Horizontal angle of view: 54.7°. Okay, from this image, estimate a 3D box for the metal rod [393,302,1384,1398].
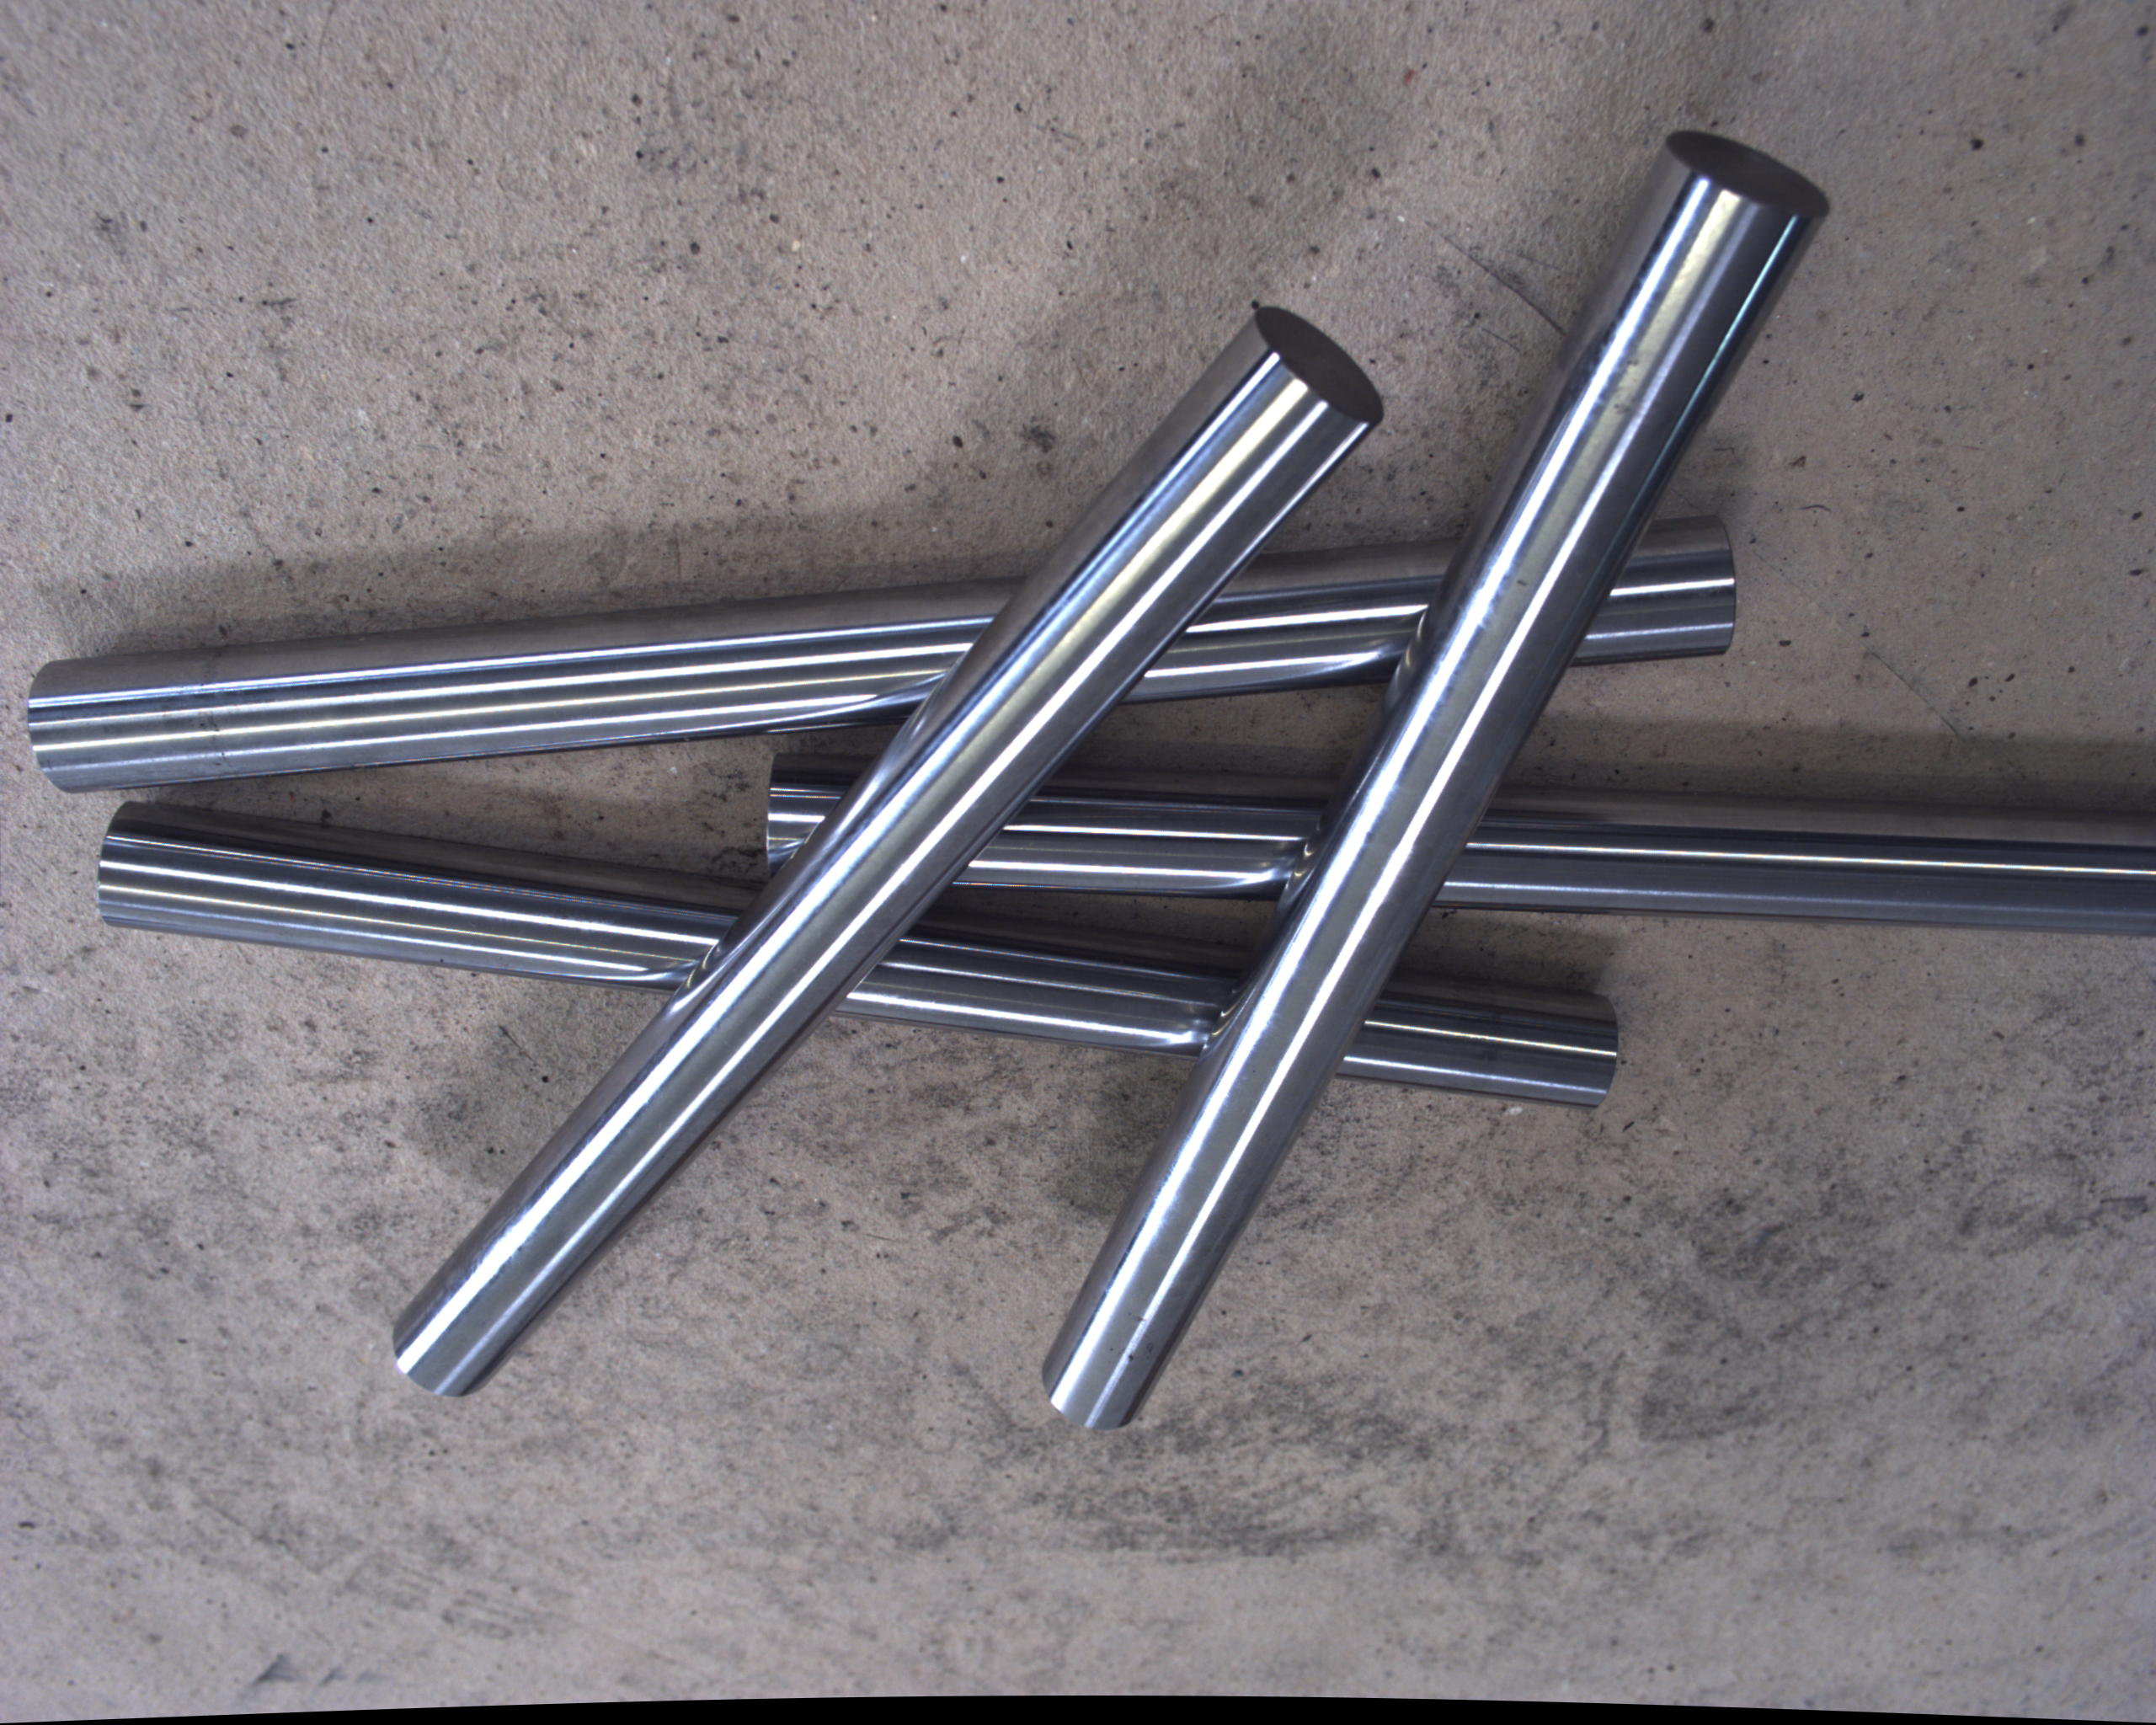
[{"bbox_3d":[-0.053,0.017,0.390,0.025,0.025,0.299,29,124,-23],"label":"metal rod"}]

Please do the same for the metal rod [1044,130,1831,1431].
[{"bbox_3d":[0.049,0.011,0.386,0.025,0.025,0.298,14,129,-12],"label":"metal rod"}]

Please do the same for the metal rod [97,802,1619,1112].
[{"bbox_3d":[-0.038,0.021,0.426,0.302,0.025,0.025,8,130,-7],"label":"metal rod"}]

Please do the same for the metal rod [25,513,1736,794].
[{"bbox_3d":[-0.037,-0.037,0.377,0.302,0.025,0.025,-5,130,3],"label":"metal rod"}]

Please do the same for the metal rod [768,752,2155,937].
[{"bbox_3d":[0.093,-0.003,0.407,0.302,0.025,0.025,2,130,-3],"label":"metal rod"}]
